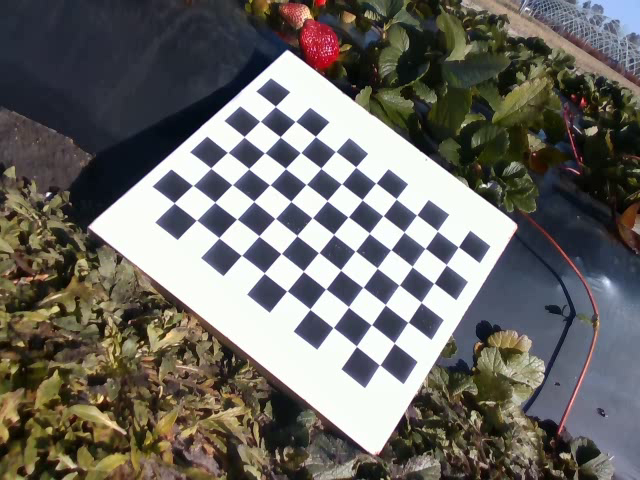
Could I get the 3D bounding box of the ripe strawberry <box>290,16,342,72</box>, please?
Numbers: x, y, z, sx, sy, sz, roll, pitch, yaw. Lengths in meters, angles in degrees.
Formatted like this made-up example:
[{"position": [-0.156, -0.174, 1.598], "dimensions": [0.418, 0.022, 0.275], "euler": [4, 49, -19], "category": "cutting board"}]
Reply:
[{"position": [-0.006, -0.201, 0.629], "dimensions": [0.058, 0.065, 0.061], "euler": [-14, -21, 8], "category": "ripe strawberry"}]
